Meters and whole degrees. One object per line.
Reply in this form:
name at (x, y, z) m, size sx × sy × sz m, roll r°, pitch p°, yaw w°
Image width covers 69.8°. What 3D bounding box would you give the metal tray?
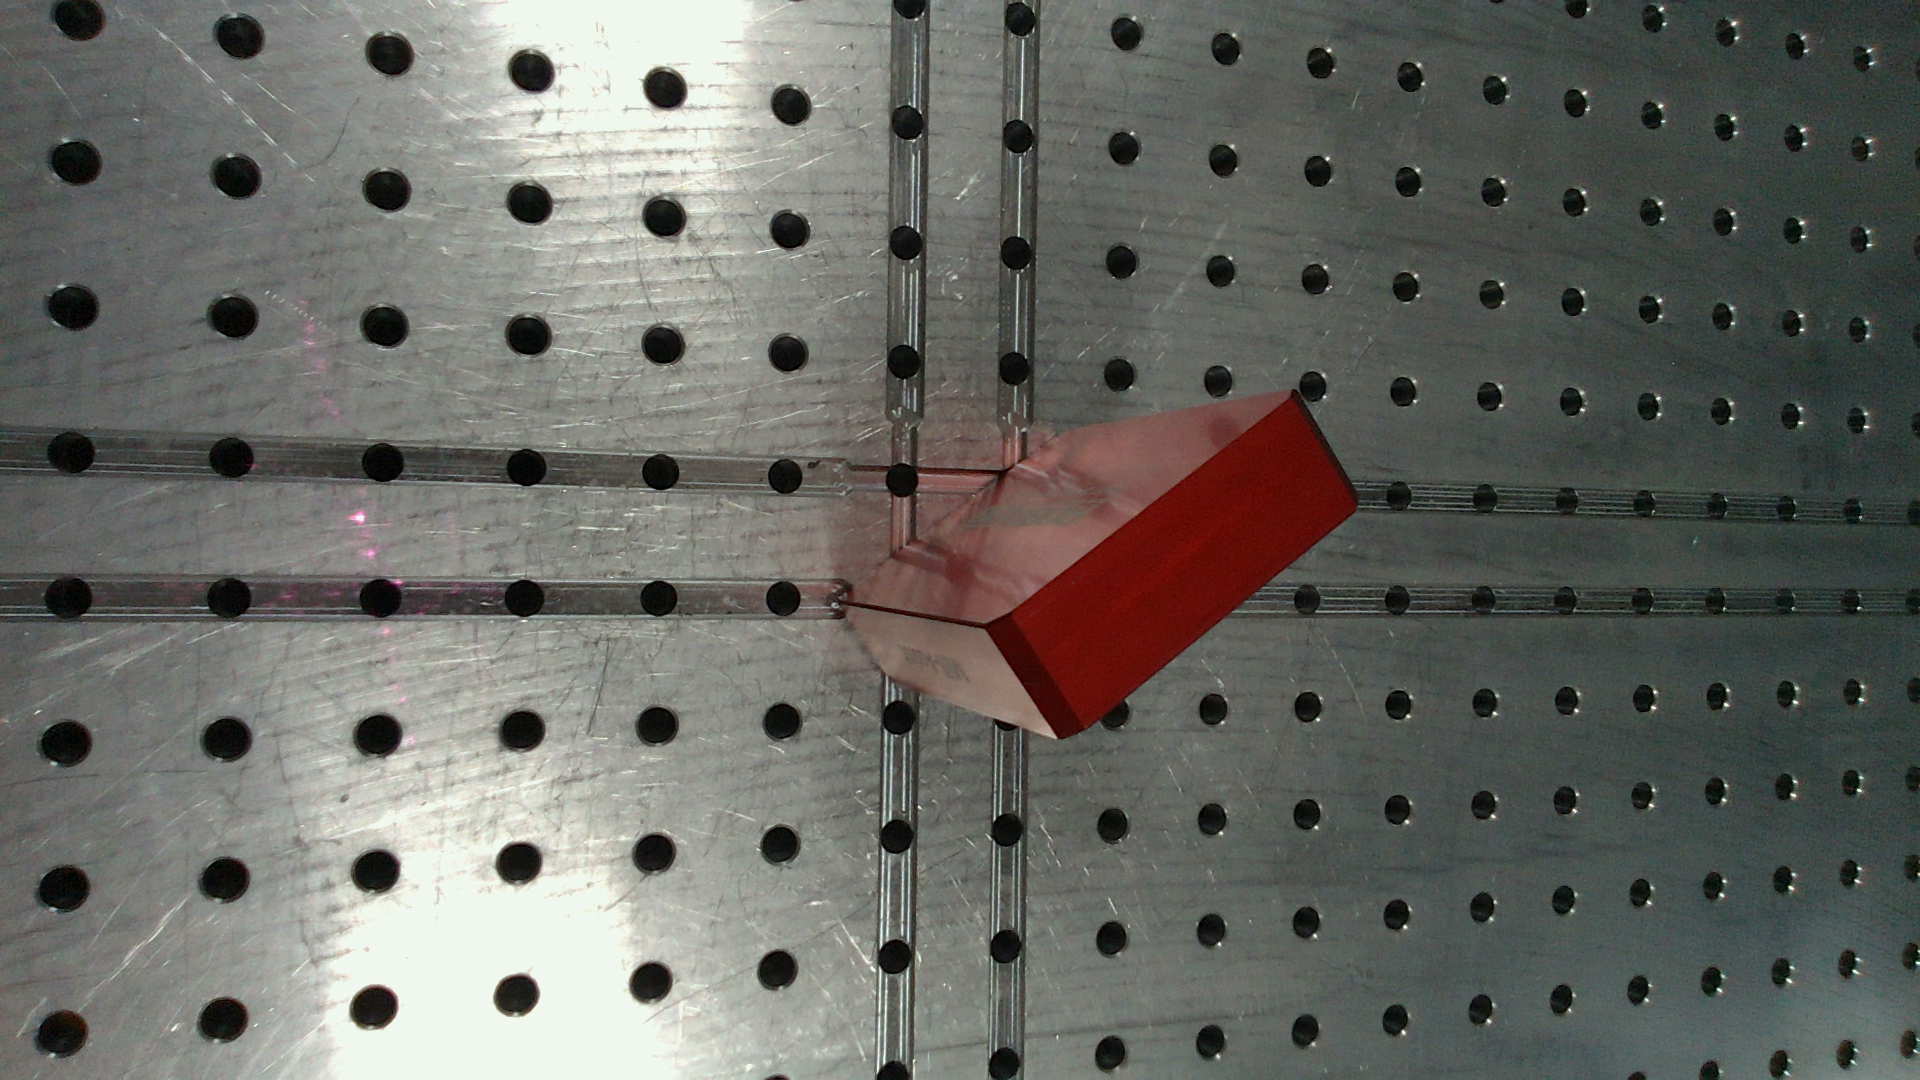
metal tray at (0.027, 0.004, 0.350) m, size 0.090 × 0.130 × 0.030 m, roll -37°, pitch 101°, yaw -16°
